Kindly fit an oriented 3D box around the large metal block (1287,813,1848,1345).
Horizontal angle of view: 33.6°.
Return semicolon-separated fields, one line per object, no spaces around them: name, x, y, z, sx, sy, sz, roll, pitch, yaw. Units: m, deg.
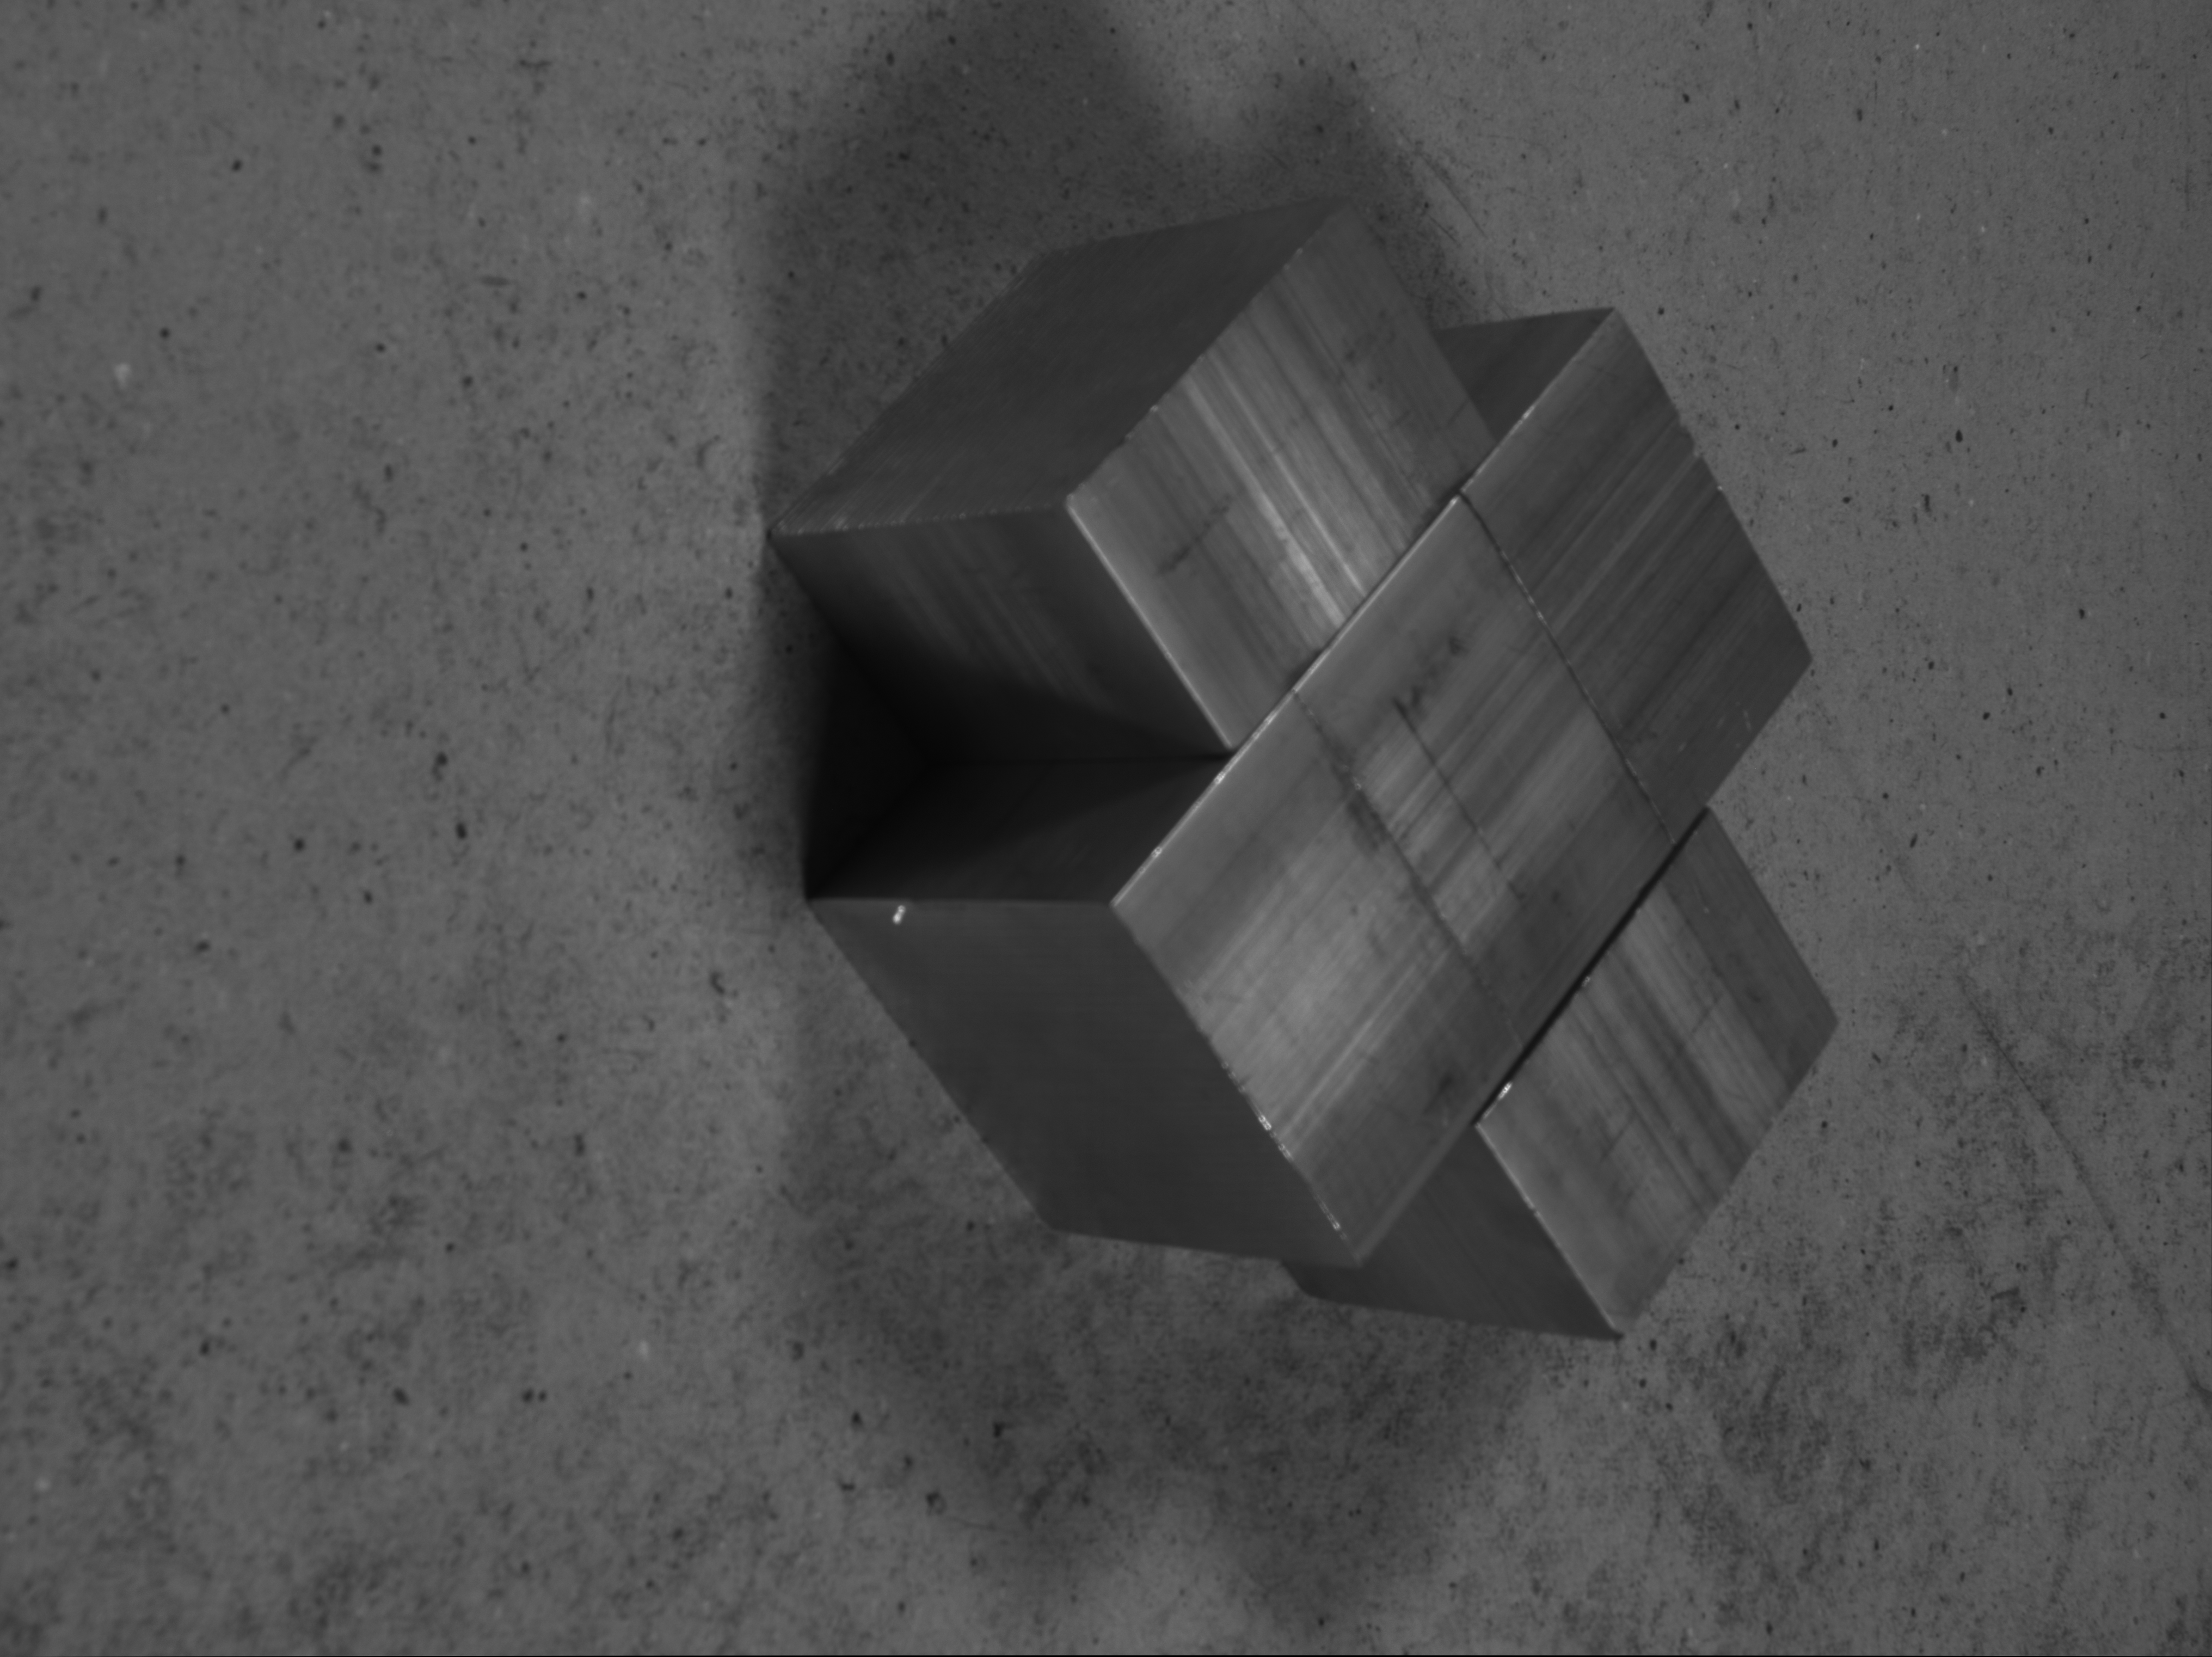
large metal block;0.073;0.043;0.663;0.080;0.080;0.050;-50;119;-28

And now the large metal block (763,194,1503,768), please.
large metal block;0.004;-0.056;0.606;0.080;0.080;0.050;-50;119;-28

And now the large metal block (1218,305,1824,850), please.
large metal block;0.069;-0.043;0.660;0.050;0.080;0.080;-50;119;-28

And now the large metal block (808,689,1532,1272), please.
large metal block;0.011;0.025;0.611;0.050;0.080;0.080;-50;119;-28

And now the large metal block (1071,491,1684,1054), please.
large metal block;0.040;-0.009;0.635;0.050;0.080;0.080;-50;119;-28
